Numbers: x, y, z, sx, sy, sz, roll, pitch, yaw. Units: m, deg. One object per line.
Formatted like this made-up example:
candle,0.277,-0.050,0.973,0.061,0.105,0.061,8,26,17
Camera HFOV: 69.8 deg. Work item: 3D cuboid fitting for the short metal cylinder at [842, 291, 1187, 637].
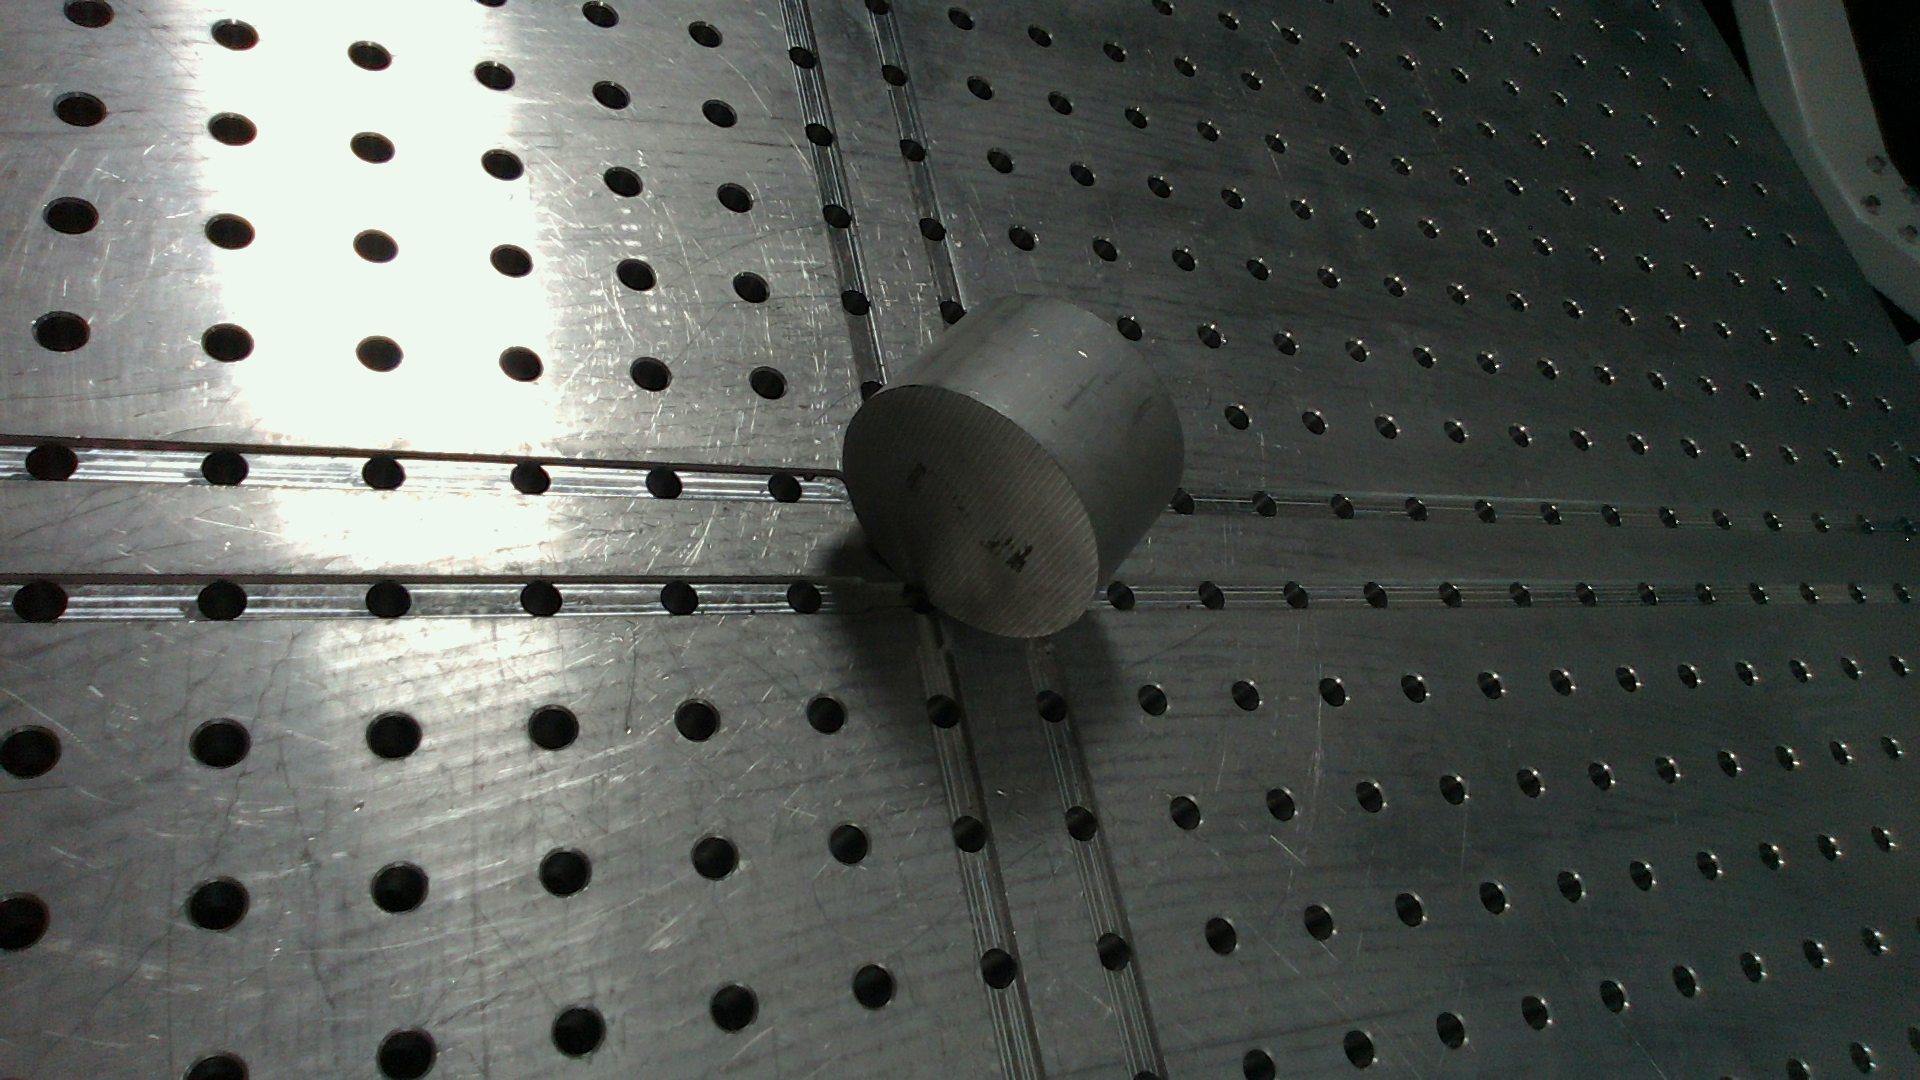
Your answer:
short metal cylinder,0.015,-0.021,0.377,0.080,0.080,0.050,42,51,1
